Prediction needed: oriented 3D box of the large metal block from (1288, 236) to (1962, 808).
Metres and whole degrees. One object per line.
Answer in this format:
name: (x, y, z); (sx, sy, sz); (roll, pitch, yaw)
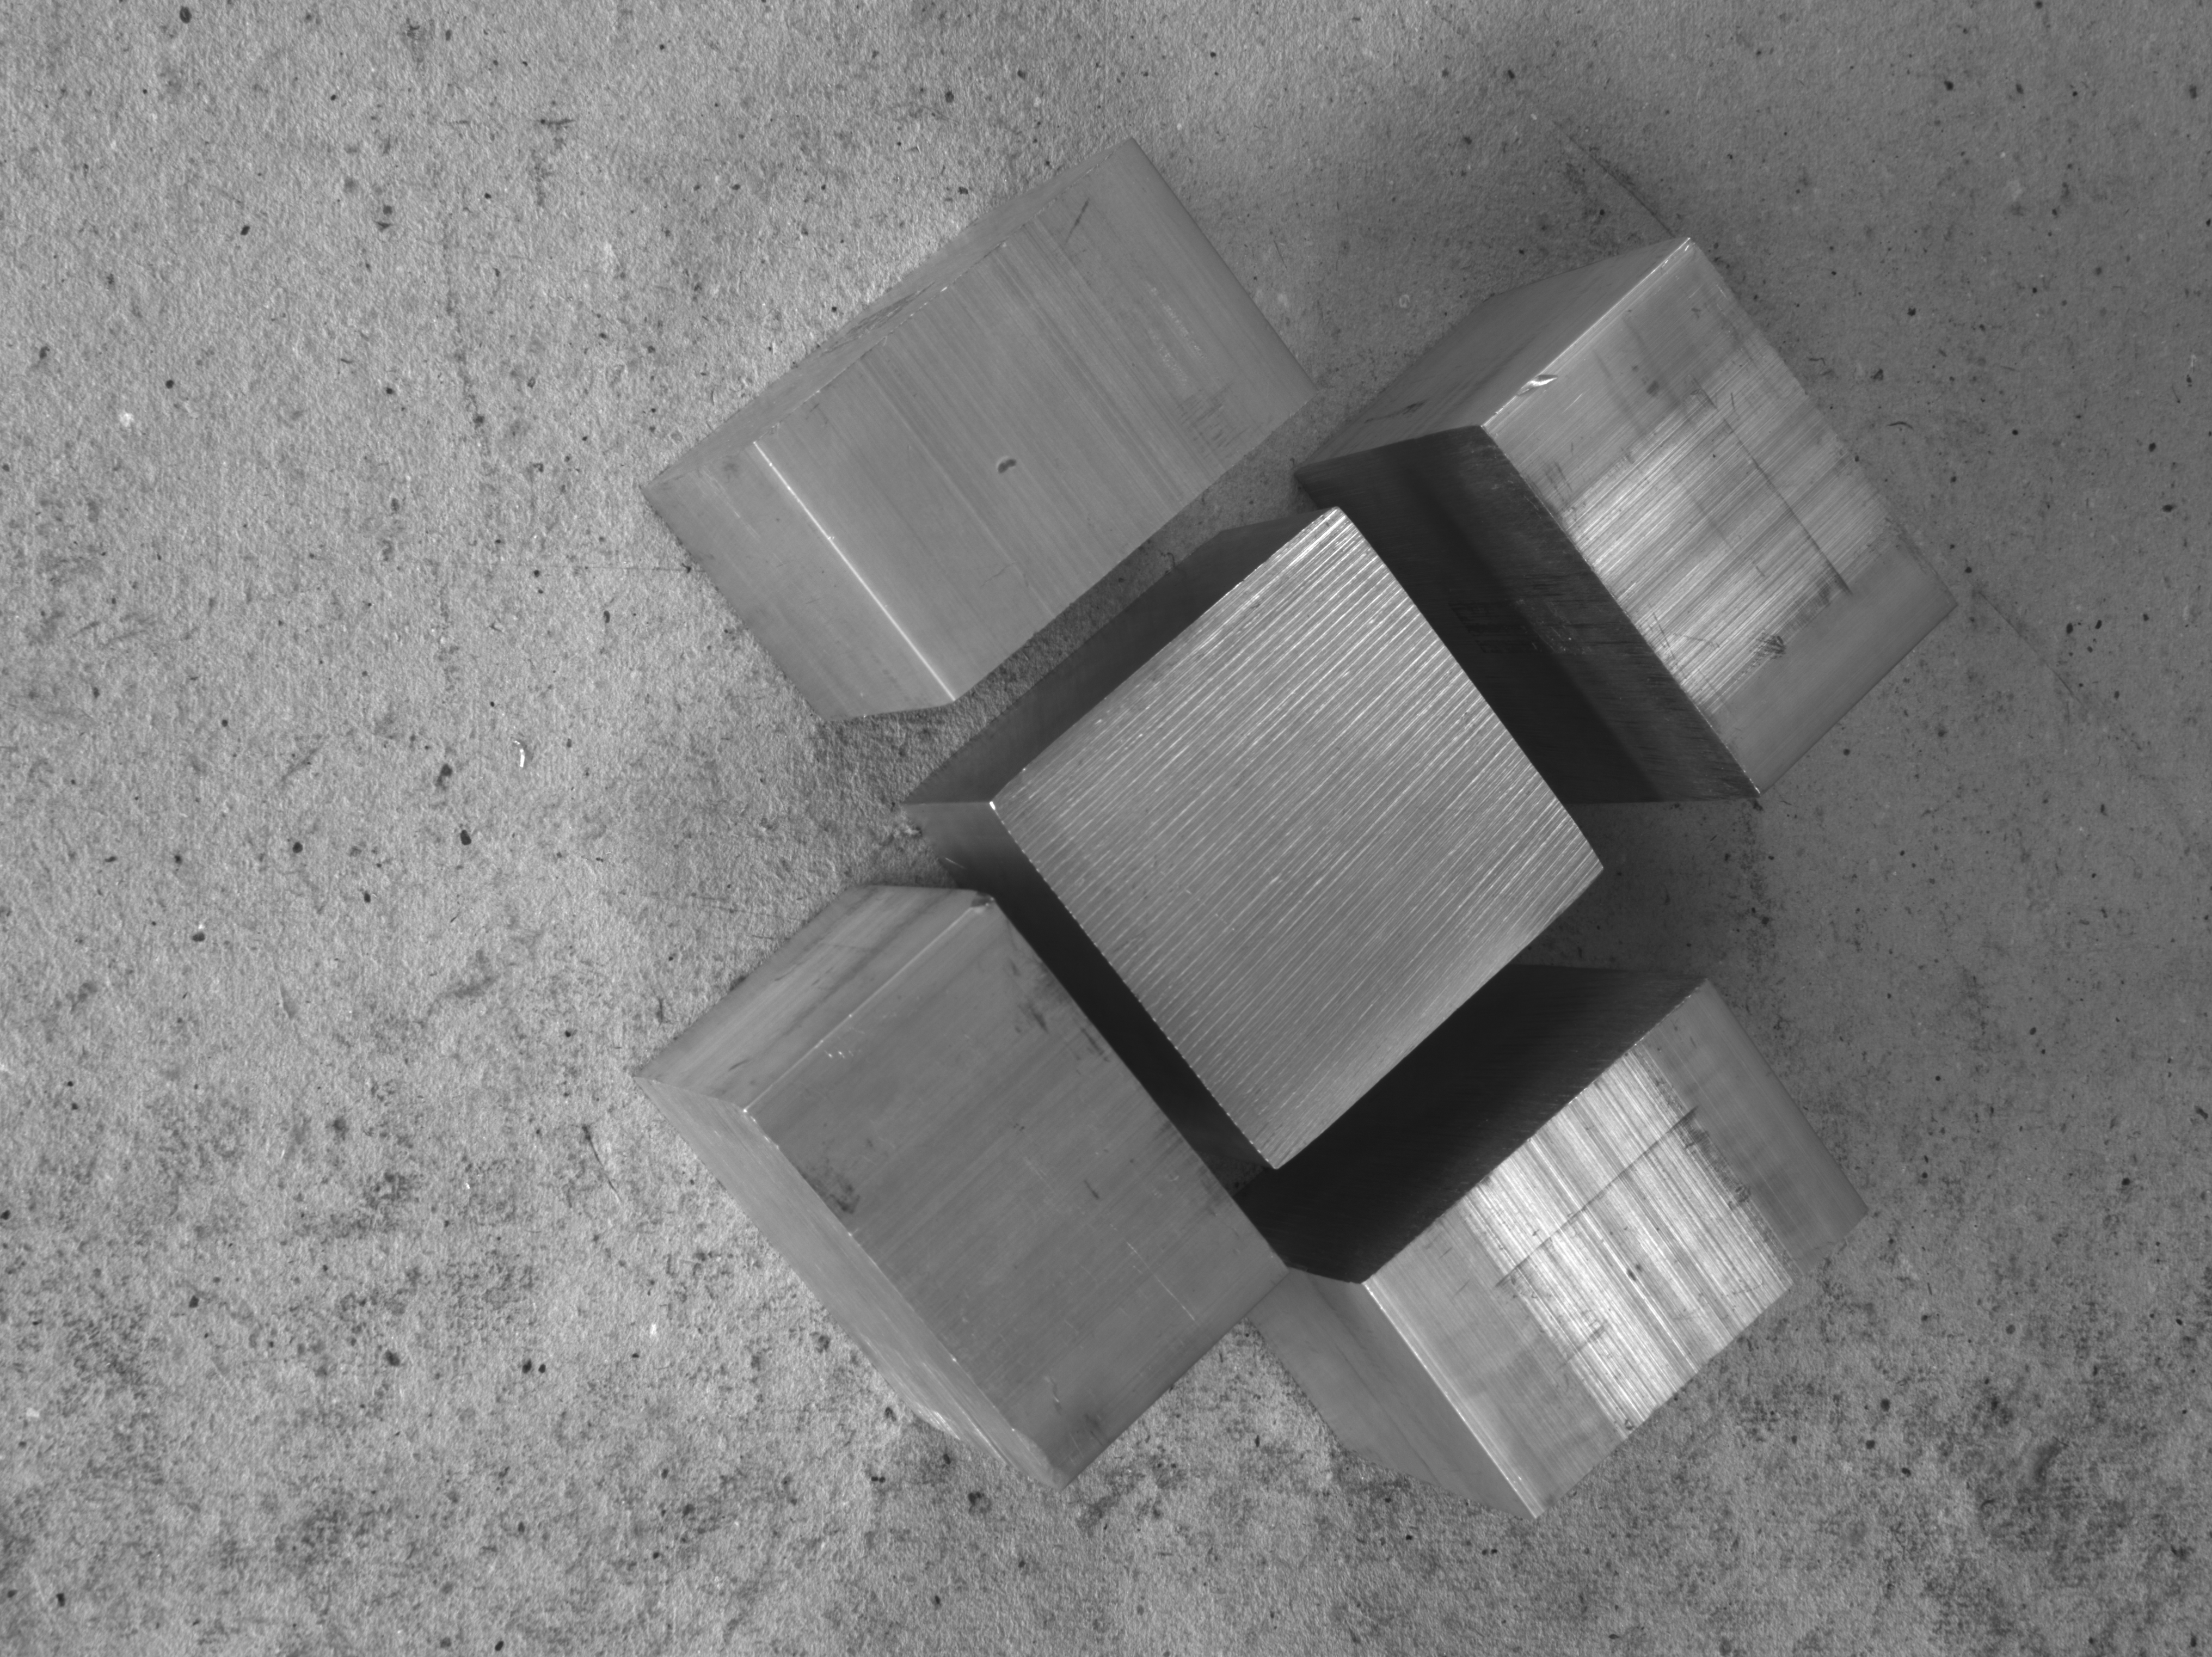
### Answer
large metal block: (0.089, -0.051, 0.647); (0.050, 0.080, 0.080); (-43, 103, -16)

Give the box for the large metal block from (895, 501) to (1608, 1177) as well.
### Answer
large metal block: (0.025, 0.002, 0.637); (0.080, 0.050, 0.080); (-41, 103, -15)

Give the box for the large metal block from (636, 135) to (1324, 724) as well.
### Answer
large metal block: (-0.023, -0.063, 0.607); (0.080, 0.080, 0.050); (-41, 102, -15)

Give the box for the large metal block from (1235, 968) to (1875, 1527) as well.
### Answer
large metal block: (0.071, 0.069, 0.640); (0.080, 0.080, 0.050); (-39, 101, -16)

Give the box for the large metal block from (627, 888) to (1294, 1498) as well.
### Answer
large metal block: (-0.026, 0.057, 0.605); (0.050, 0.080, 0.080); (-41, 103, -15)
